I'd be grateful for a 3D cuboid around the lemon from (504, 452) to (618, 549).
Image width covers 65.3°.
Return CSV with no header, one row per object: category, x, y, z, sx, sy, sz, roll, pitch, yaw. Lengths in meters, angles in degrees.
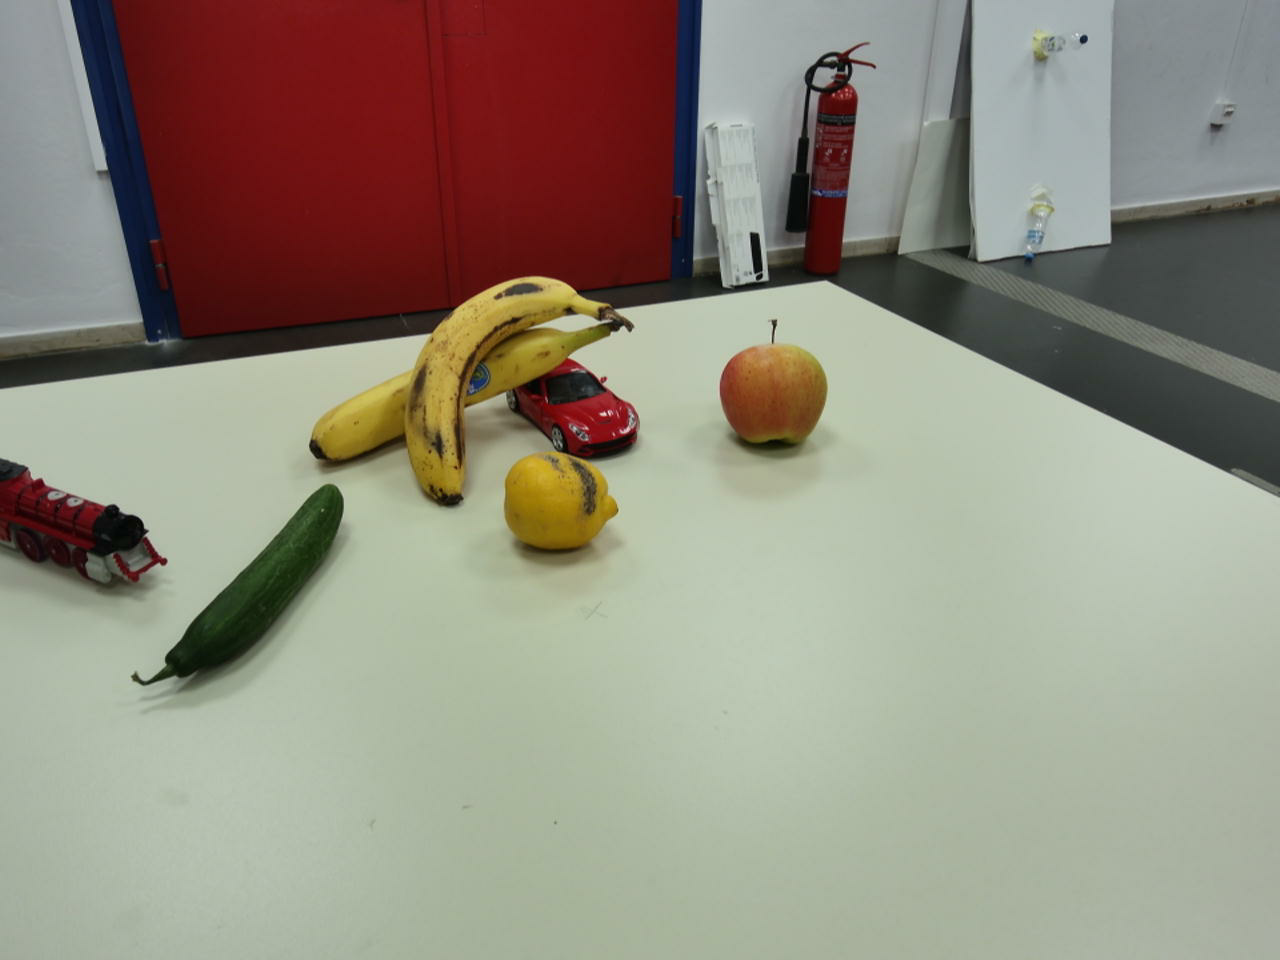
lemon,-0.049,0.012,0.577,0.061,0.056,0.058,-16,30,-29
